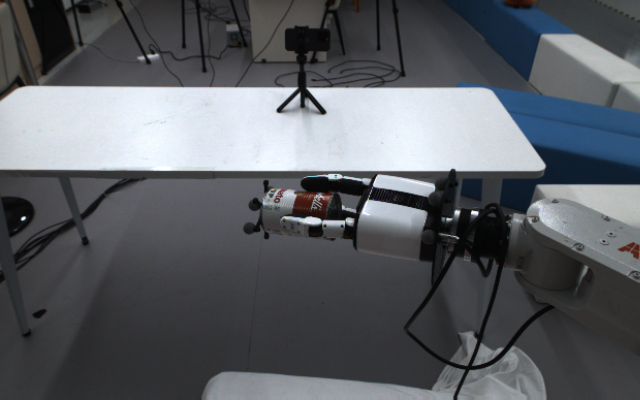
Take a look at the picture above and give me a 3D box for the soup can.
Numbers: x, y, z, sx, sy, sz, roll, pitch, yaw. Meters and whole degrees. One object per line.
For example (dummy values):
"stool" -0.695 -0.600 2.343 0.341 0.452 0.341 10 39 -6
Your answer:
"soup can" -0.024 0.020 0.693 0.101 0.067 0.067 5 34 18
